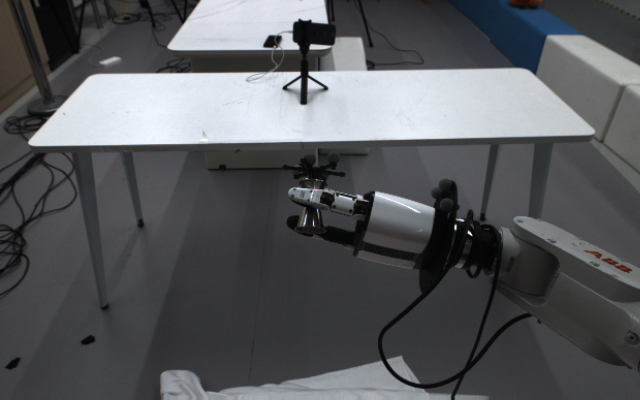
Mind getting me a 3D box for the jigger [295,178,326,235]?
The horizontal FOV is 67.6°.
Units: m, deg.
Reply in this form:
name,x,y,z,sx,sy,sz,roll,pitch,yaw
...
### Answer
name,x,y,z,sx,sy,sz,roll,pitch,yaw
jigger,-0.013,0.008,0.667,0.043,0.043,0.071,3,75,2
